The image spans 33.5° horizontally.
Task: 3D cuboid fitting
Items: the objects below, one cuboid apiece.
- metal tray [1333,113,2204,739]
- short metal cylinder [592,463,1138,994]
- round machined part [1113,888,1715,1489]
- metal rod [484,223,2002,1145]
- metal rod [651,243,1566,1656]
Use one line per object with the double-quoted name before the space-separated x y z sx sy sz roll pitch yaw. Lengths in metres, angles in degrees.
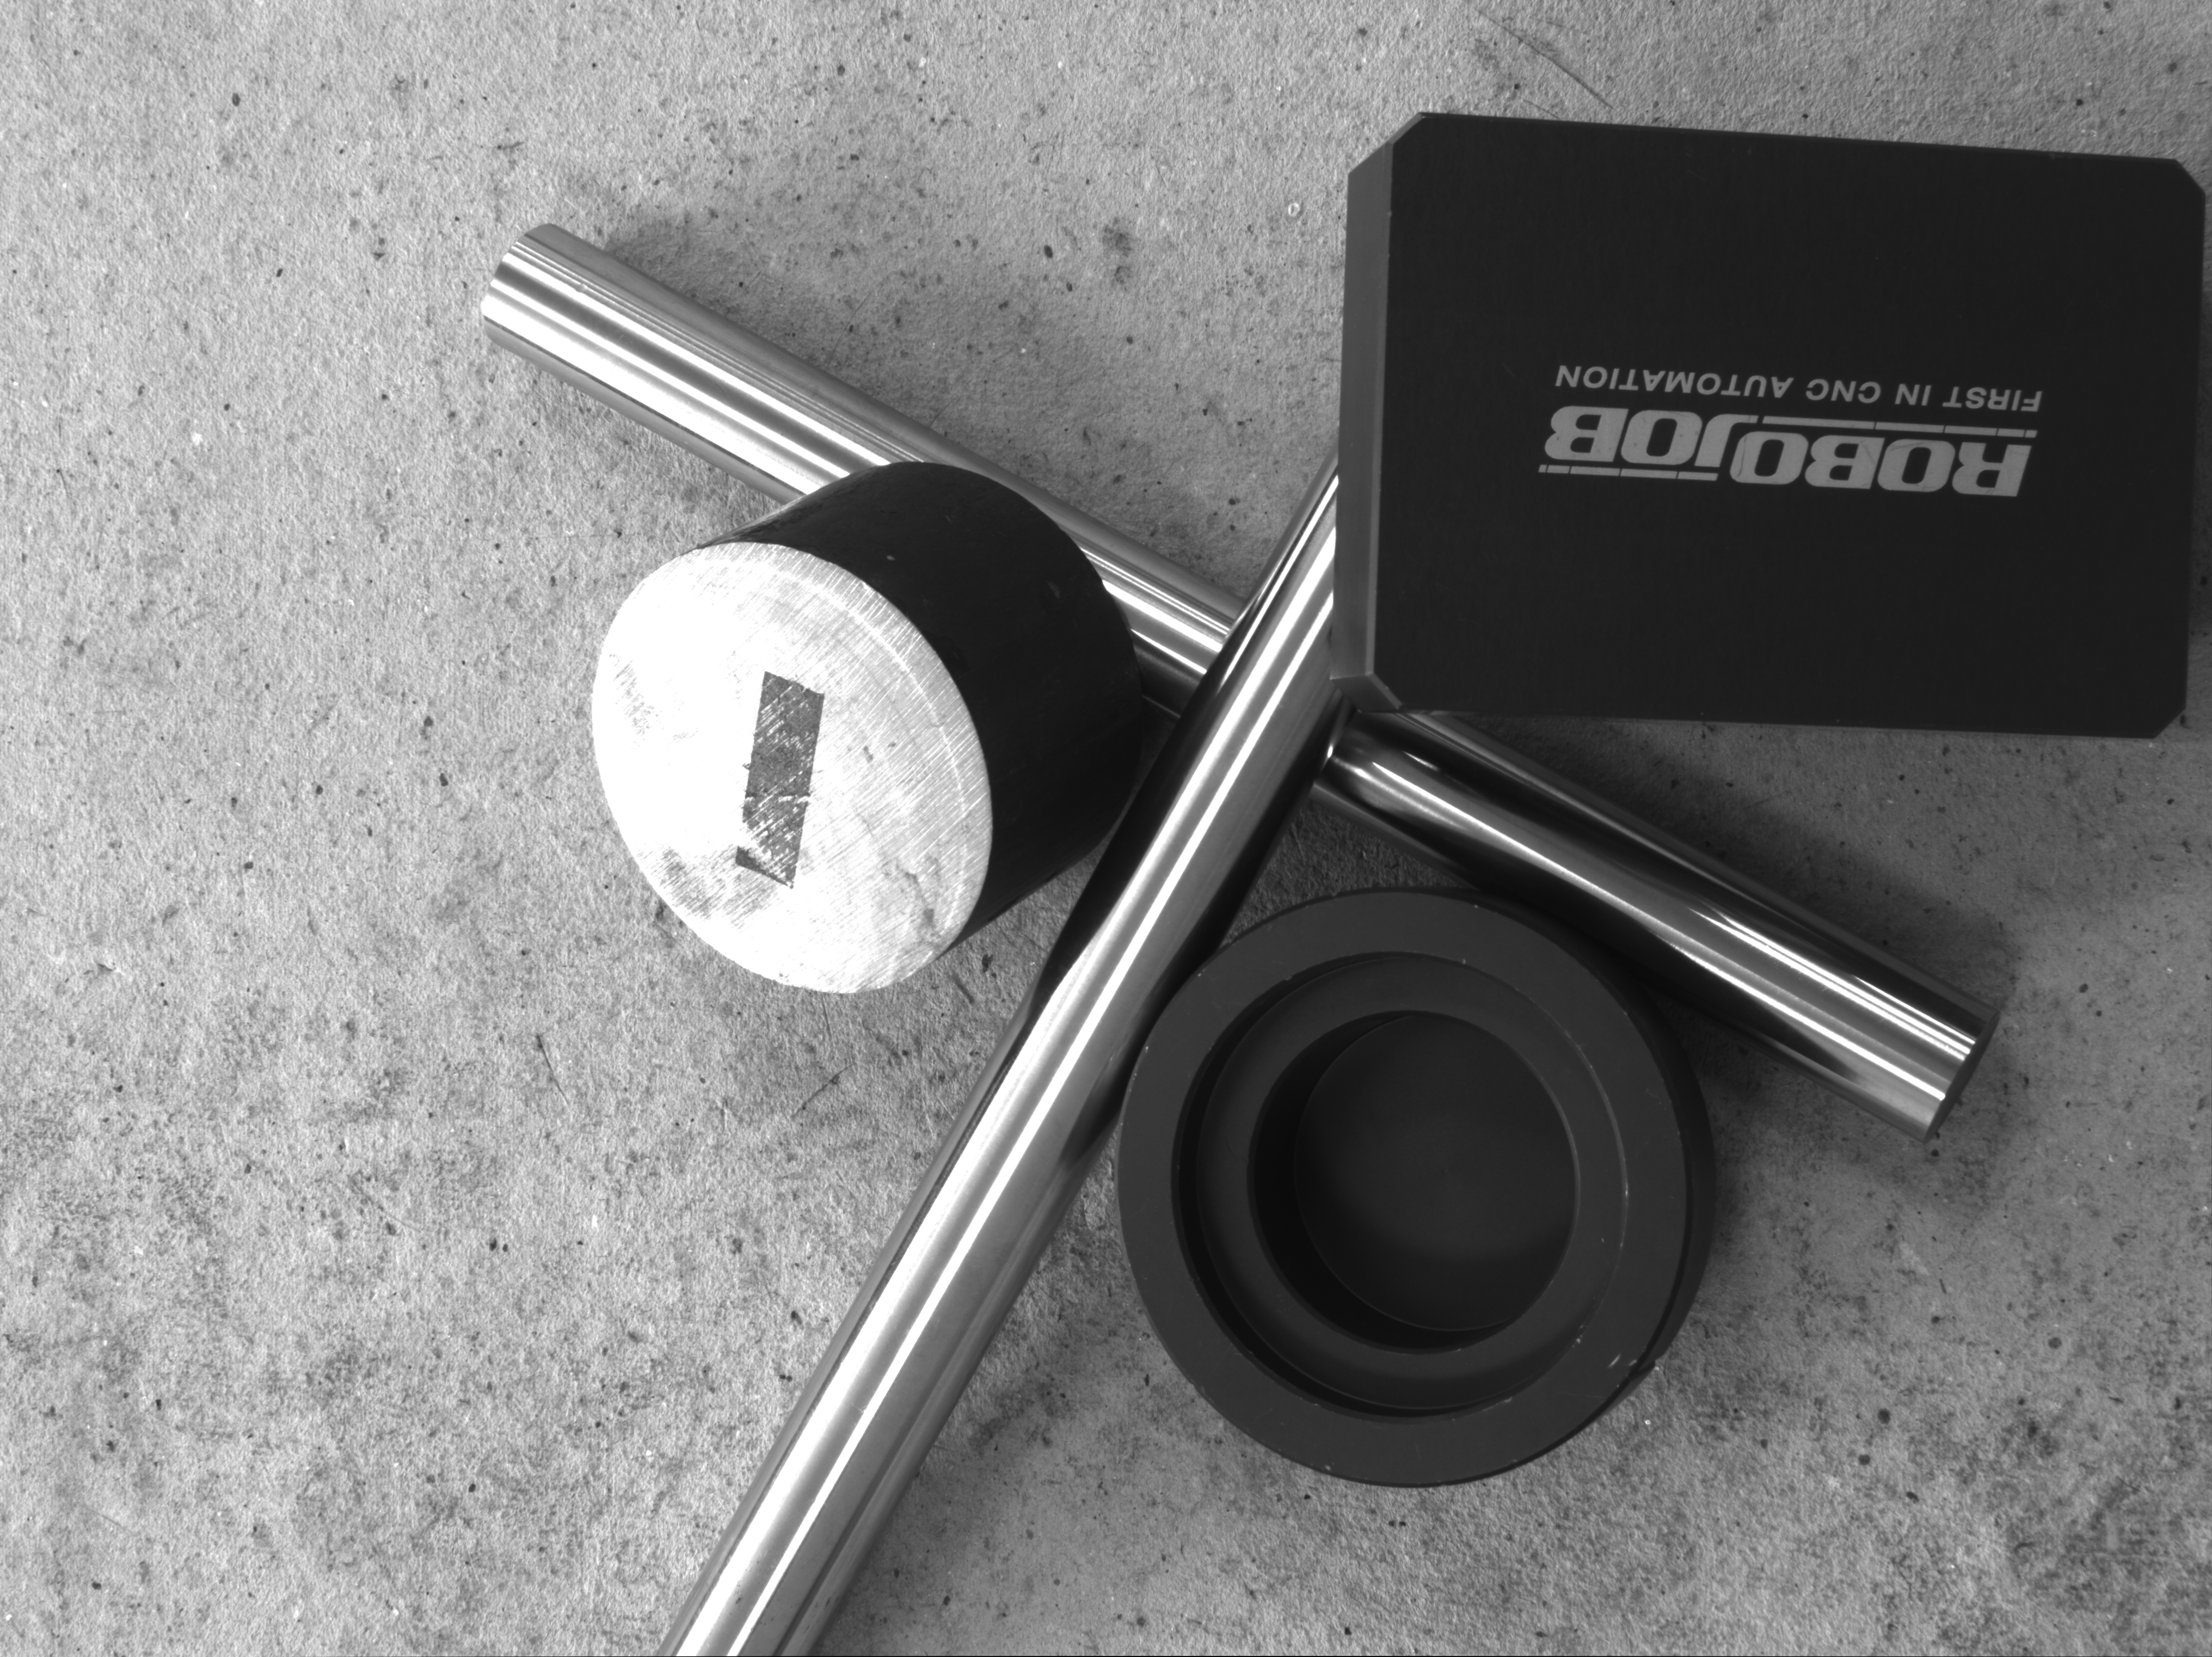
"metal tray" 0.103 -0.061 0.577 0.130 0.030 0.090 2 91 -8
"short metal cylinder" -0.042 -0.018 0.635 0.080 0.050 0.080 13 116 28
"round machined part" 0.054 0.059 0.618 0.098 0.042 0.098 0 90 20
"metal rod" 0.016 -0.031 0.642 0.299 0.025 0.025 30 100 18
"metal rod" -0.003 0.034 0.630 0.025 0.025 0.300 35 108 17
